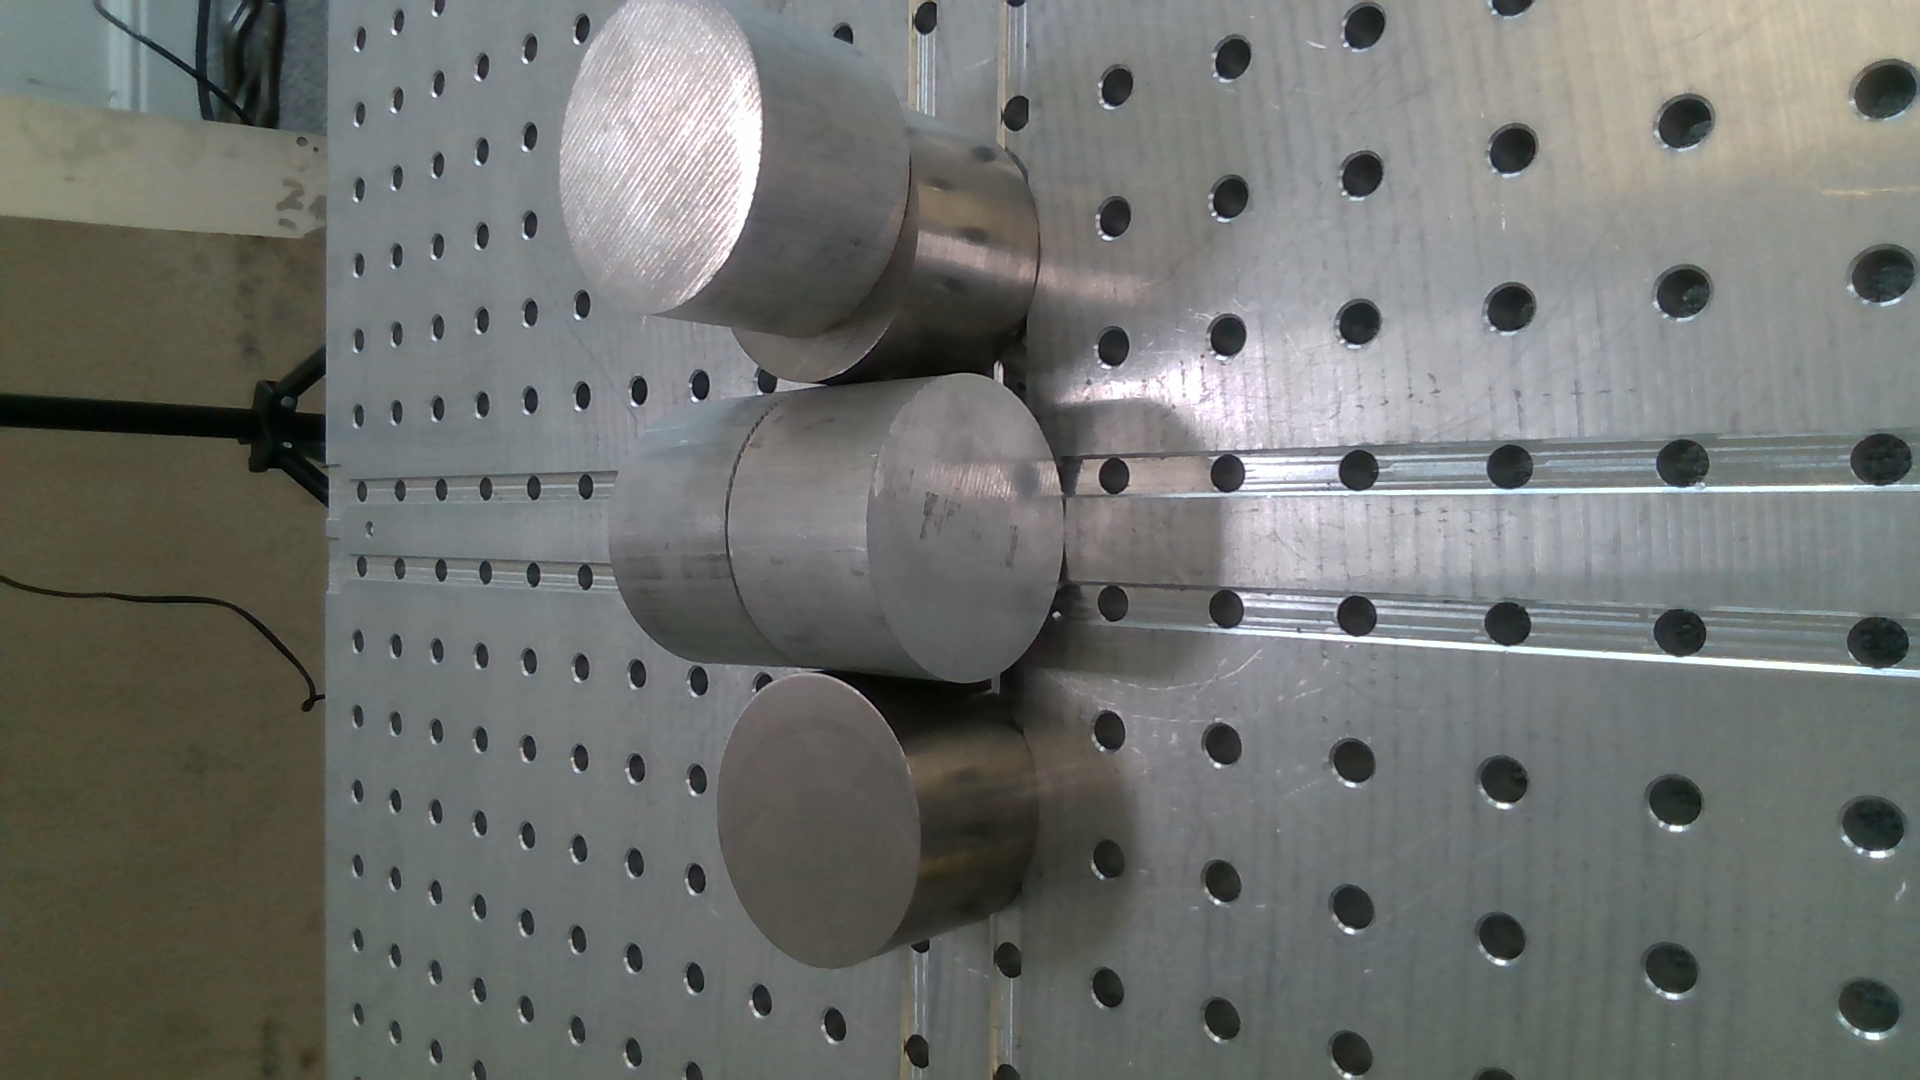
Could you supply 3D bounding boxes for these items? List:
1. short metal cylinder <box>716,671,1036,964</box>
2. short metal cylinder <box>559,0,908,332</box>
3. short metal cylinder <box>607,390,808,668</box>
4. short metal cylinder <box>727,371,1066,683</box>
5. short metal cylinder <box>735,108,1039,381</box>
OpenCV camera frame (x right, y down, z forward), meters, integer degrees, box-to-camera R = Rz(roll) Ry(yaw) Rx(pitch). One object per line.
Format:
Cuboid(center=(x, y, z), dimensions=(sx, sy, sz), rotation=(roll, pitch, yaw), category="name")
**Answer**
Cuboid(center=(-0.025, 0.076, 0.398), dimensions=(0.080, 0.050, 0.080), rotation=(1, 91, 40), category="short metal cylinder")
Cuboid(center=(-0.060, -0.097, 0.360), dimensions=(0.080, 0.050, 0.080), rotation=(0, 91, 40), category="short metal cylinder")
Cuboid(center=(-0.055, -0.003, 0.404), dimensions=(0.050, 0.080, 0.080), rotation=(-1, 89, 40), category="short metal cylinder")
Cuboid(center=(-0.015, -0.004, 0.371), dimensions=(0.050, 0.080, 0.080), rotation=(1, 91, 41), category="short metal cylinder")
Cuboid(center=(-0.024, -0.084, 0.397), dimensions=(0.080, 0.050, 0.080), rotation=(1, 91, 40), category="short metal cylinder")
